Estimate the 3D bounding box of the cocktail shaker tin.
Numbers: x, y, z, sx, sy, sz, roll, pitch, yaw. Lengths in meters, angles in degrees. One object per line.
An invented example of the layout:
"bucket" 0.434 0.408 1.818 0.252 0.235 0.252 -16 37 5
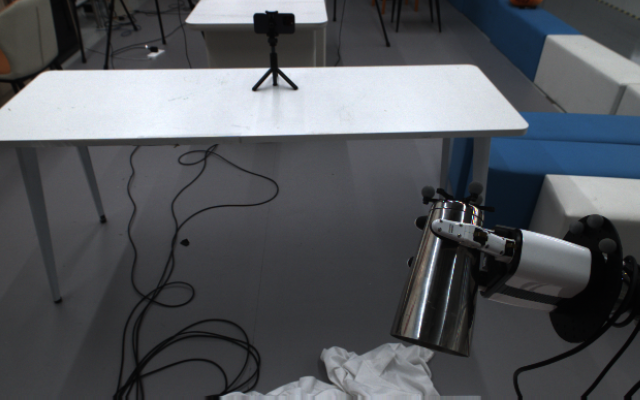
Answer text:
"cocktail shaker tin" 0.151 0.088 0.585 0.093 0.093 0.170 12 72 14
